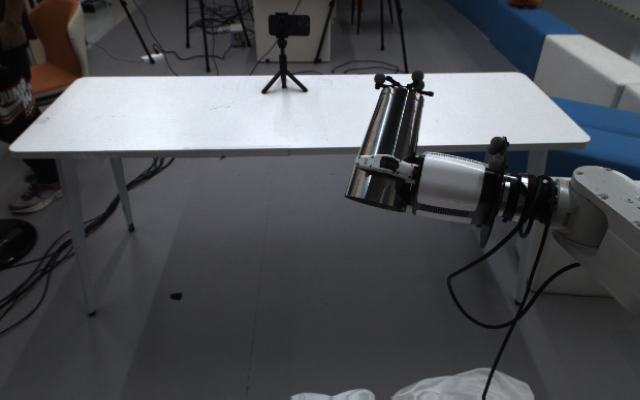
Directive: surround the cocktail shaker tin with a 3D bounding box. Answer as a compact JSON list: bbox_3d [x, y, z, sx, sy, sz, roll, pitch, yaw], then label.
[{"bbox_3d":[0.102,-0.075,0.717,0.093,0.170,0.093,15,-4,1],"label":"cocktail shaker tin"}]
